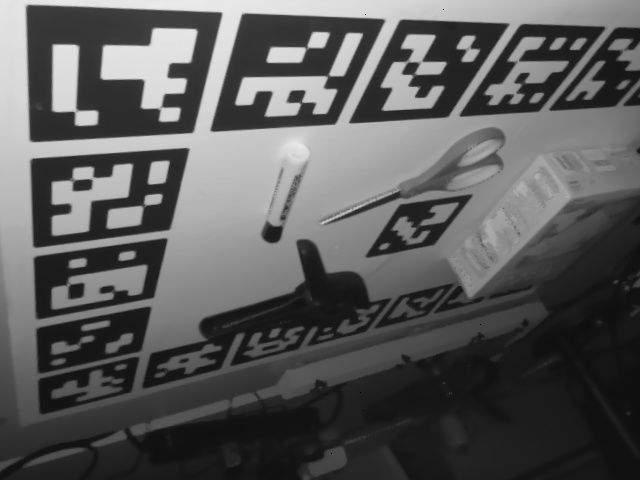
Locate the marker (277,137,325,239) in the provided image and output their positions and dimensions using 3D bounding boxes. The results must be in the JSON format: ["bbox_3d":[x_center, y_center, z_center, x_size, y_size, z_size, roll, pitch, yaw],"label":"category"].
[{"bbox_3d":[-0.018,-0.039,0.586,0.020,0.019,0.119,-12,149,-22],"label":"marker"}]

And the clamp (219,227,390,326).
[{"bbox_3d":[0.012,0.055,0.774,0.163,0.037,0.205,-40,147,27],"label":"clamp"}]

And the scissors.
[{"bbox_3d":[0.108,-0.058,0.653,0.203,0.016,0.087,-22,152,0],"label":"scissors"}]

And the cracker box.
[{"bbox_3d":[0.305,-0.025,0.805,0.167,0.072,0.210,-9,147,-27],"label":"cracker box"}]
